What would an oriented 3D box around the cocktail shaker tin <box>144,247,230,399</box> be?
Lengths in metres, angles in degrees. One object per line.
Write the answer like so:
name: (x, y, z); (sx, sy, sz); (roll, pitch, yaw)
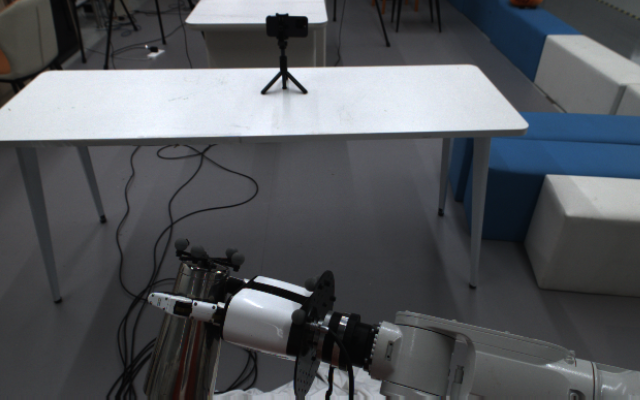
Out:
cocktail shaker tin: (-0.166, 0.167, 0.640); (0.093, 0.170, 0.093); (12, 1, 0)
